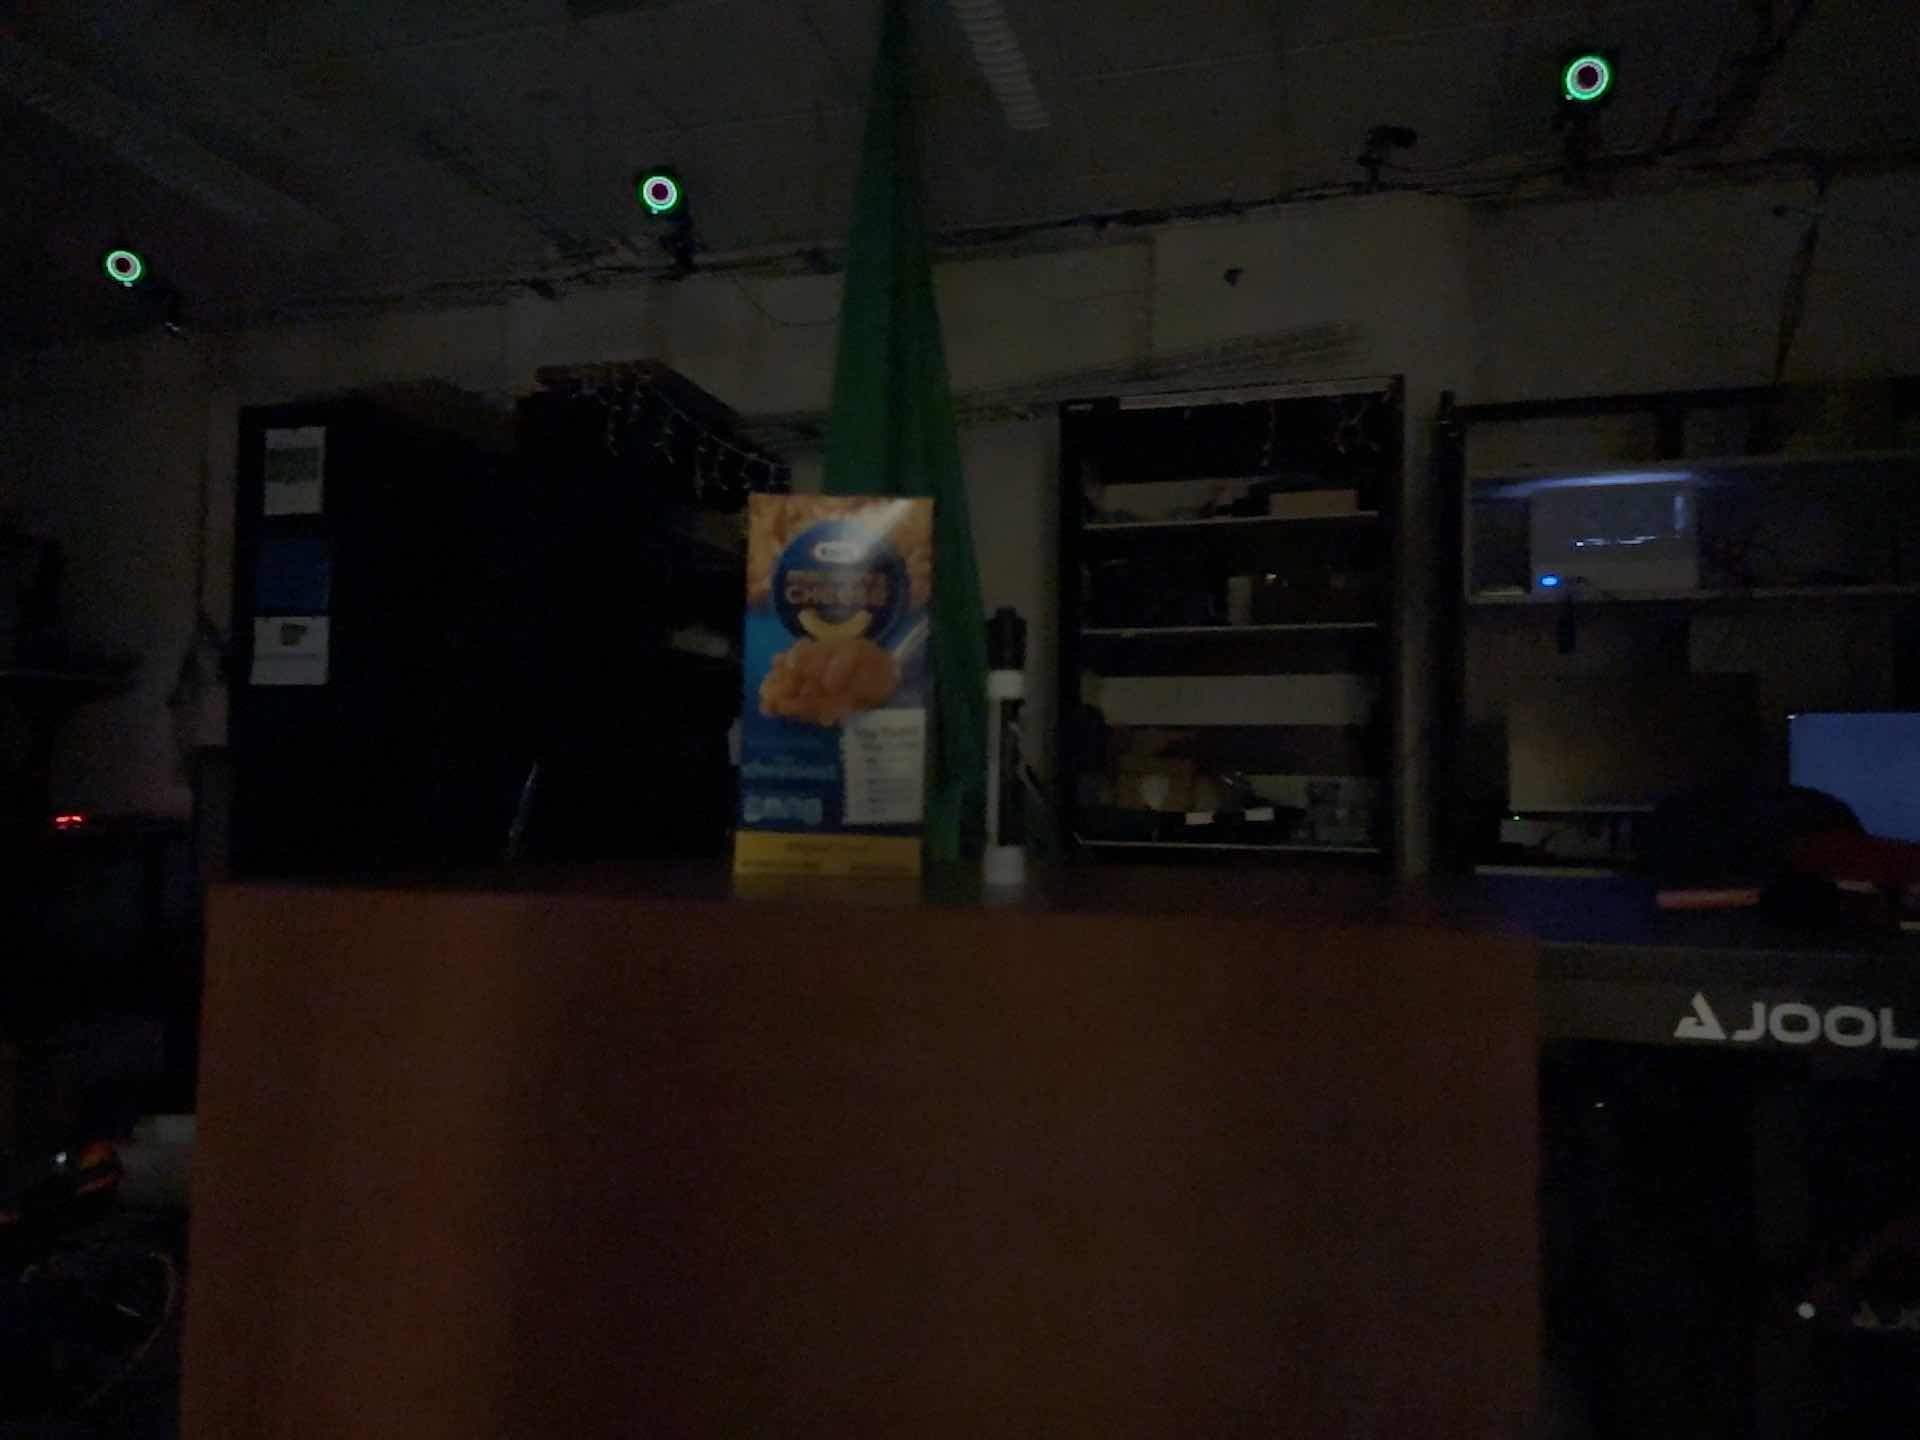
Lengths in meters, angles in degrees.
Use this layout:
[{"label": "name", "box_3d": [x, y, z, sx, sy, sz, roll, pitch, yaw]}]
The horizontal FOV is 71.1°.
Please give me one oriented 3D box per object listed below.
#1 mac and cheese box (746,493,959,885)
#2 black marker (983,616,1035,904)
[{"label": "mac and cheese box", "box_3d": [-0.051, -0.015, 0.643, 0.088, 0.181, 0.035, 1, -3, 9]}, {"label": "black marker", "box_3d": [0.021, 0.016, 0.570, 0.020, 0.121, 0.020, 1, -4, 0]}]
